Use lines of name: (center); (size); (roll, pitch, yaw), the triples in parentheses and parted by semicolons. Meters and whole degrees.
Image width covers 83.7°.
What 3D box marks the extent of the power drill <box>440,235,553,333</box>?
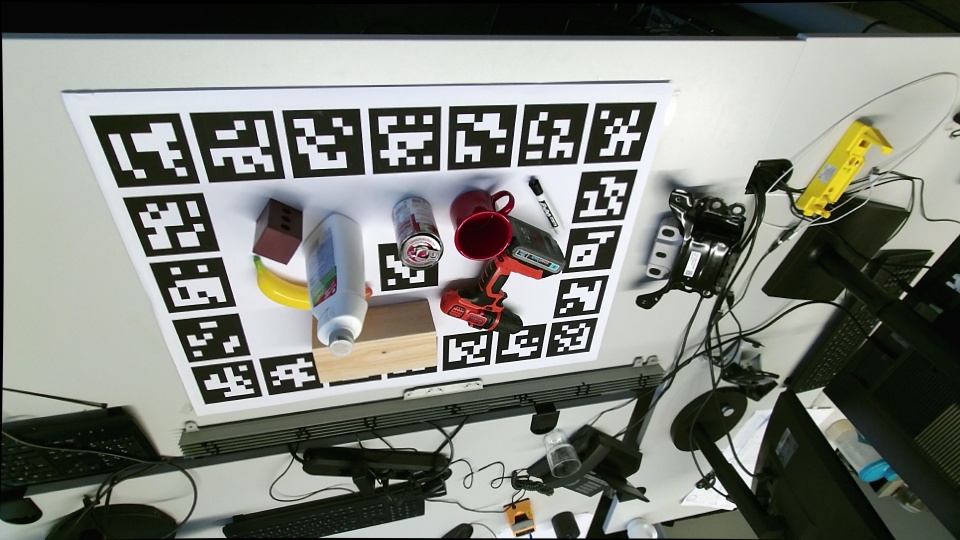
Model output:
power drill: (0.046, 0.031, 0.969); (0.185, 0.057, 0.187); (22, 119, -26)

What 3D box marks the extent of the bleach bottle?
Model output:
bleach bottle: (-0.198, 0.028, 0.763); (0.068, 0.249, 0.102); (21, 119, -30)

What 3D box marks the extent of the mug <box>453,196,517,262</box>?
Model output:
mug: (0.012, -0.071, 0.857); (0.117, 0.081, 0.093); (-44, 124, 14)

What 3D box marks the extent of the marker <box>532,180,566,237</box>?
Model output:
marker: (0.117, -0.105, 0.907); (0.020, 0.019, 0.121); (-31, 128, 4)

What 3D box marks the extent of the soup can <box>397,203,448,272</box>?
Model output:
soup can: (-0.090, -0.049, 0.824); (0.068, 0.101, 0.068); (-8, 132, -9)

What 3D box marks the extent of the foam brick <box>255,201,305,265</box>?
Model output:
foam brick: (-0.293, -0.053, 0.786); (0.053, 0.078, 0.051); (25, 118, -33)

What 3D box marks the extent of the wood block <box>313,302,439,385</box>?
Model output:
wood block: (-0.183, 0.130, 0.950); (0.207, 0.090, 0.090); (-6, 127, -12)

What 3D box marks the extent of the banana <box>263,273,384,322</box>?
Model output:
banana: (-0.262, 0.053, 0.896); (0.198, 0.039, 0.074); (9, 110, -20)
